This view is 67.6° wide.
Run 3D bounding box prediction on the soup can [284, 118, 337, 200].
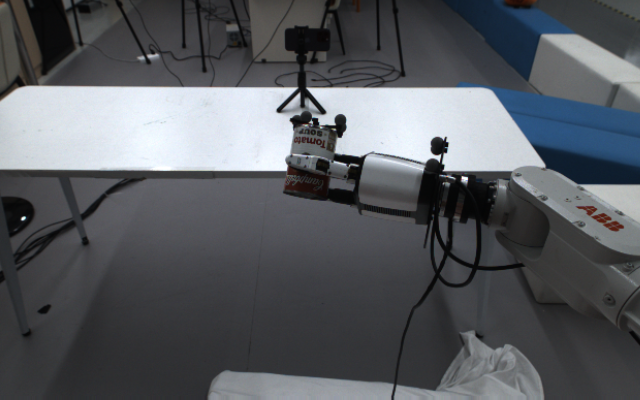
[{"bbox_3d":[-0.014,-0.056,0.721,0.067,0.101,0.067,9,-5,1],"label":"soup can"}]
